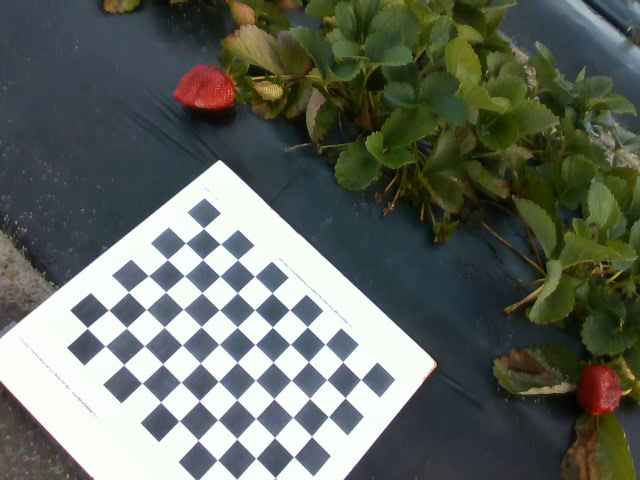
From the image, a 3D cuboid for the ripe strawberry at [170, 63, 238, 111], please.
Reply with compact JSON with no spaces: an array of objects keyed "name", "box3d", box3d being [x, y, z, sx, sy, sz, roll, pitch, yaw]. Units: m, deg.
[{"name":"ripe strawberry","box3d":[-0.132,-0.173,0.691,0.074,0.067,0.039,-40,-13,-24]}]
